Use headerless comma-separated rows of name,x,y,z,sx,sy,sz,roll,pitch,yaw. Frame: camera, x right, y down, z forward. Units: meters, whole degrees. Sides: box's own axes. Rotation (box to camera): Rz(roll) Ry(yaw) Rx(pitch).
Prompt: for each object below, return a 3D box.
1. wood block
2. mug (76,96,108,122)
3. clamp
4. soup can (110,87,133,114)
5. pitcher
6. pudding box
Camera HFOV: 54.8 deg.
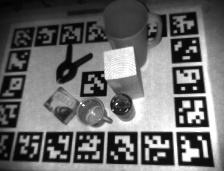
wood block,0.036,-0.050,0.679,0.089,0.208,0.090,-6,69,8
mug,-0.058,0.081,0.722,0.116,0.082,0.093,32,78,22
clamp,-0.166,-0.097,0.840,0.121,0.037,0.165,27,79,12
soup can,0.030,0.053,0.701,0.067,0.103,0.068,-4,72,12
pitcher,0.058,-0.171,0.700,0.187,0.245,0.133,-6,67,14
pudding box,-0.190,0.054,0.786,0.113,0.039,0.090,34,84,22
